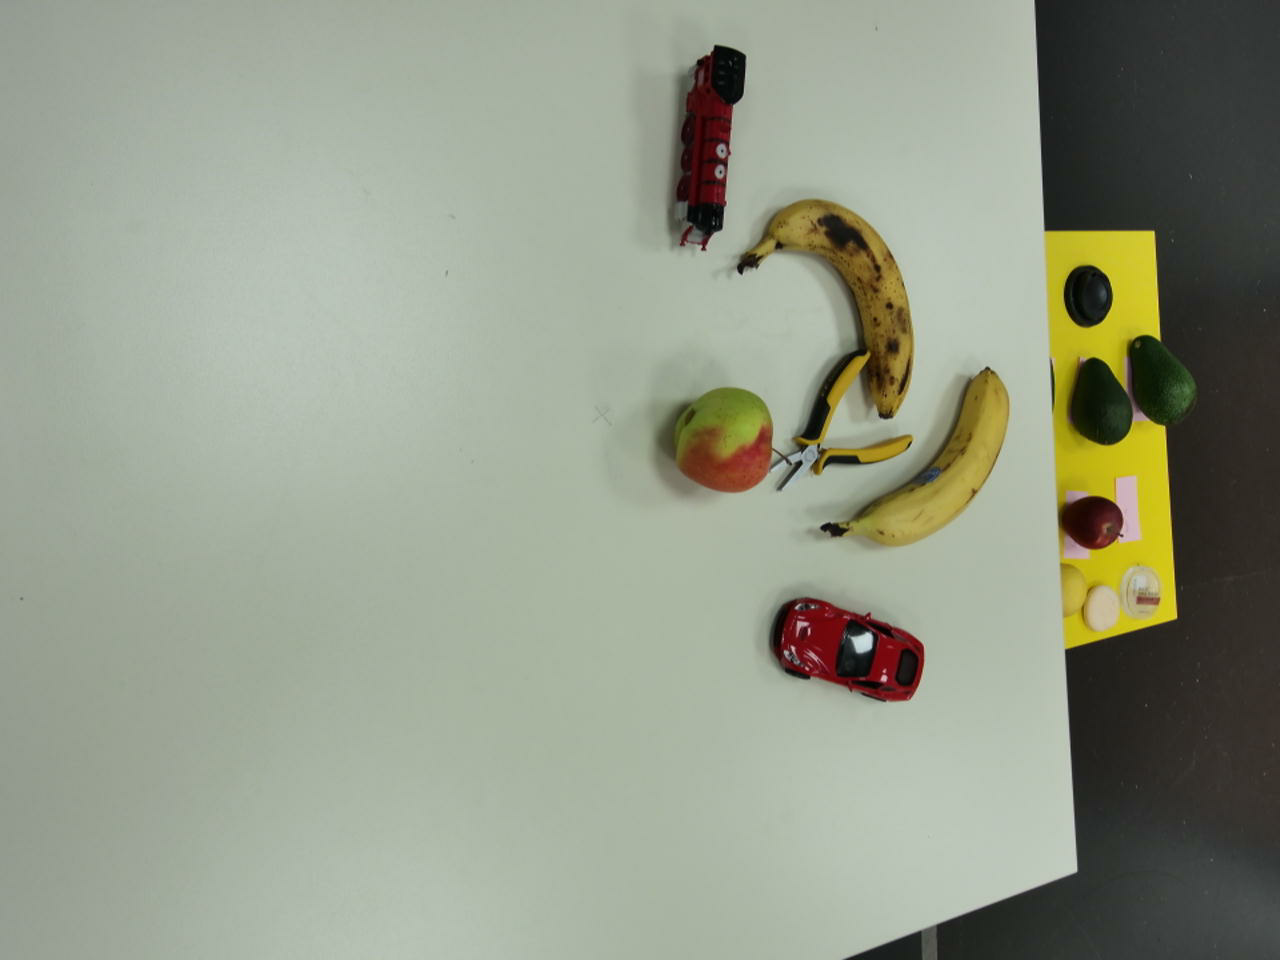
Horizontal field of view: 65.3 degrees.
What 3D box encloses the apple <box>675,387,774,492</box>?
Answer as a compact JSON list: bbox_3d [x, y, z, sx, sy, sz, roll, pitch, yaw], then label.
[{"bbox_3d":[0.062,-0.027,0.717,0.075,0.074,0.075,-26,103,-26],"label":"apple"}]
